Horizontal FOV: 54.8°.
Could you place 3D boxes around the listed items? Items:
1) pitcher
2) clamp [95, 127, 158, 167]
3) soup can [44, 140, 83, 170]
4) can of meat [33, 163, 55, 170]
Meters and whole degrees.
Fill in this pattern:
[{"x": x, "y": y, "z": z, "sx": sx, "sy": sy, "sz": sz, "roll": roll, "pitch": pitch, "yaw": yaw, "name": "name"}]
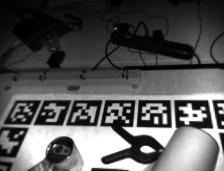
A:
[{"x": 0.129, "y": 0.217, "z": 0.466, "sx": 0.186, "sy": 0.134, "sz": 0.244, "roll": -1, "pitch": 38, "yaw": 42, "name": "pitcher"}, {"x": 0.044, "y": 0.175, "z": 0.604, "sx": 0.164, "sy": 0.037, "sz": 0.121, "roll": 3, "pitch": 46, "yaw": 10, "name": "clamp"}, {"x": -0.124, "y": 0.197, "z": 0.566, "sx": 0.067, "sy": 0.103, "sz": 0.067, "roll": -8, "pitch": 50, "yaw": 10, "name": "soup can"}, {"x": -0.179, "y": 0.247, "z": 0.529, "sx": 0.084, "sy": 0.103, "sz": 0.057, "roll": -31, "pitch": 51, "yaw": -9, "name": "can of meat"}]
